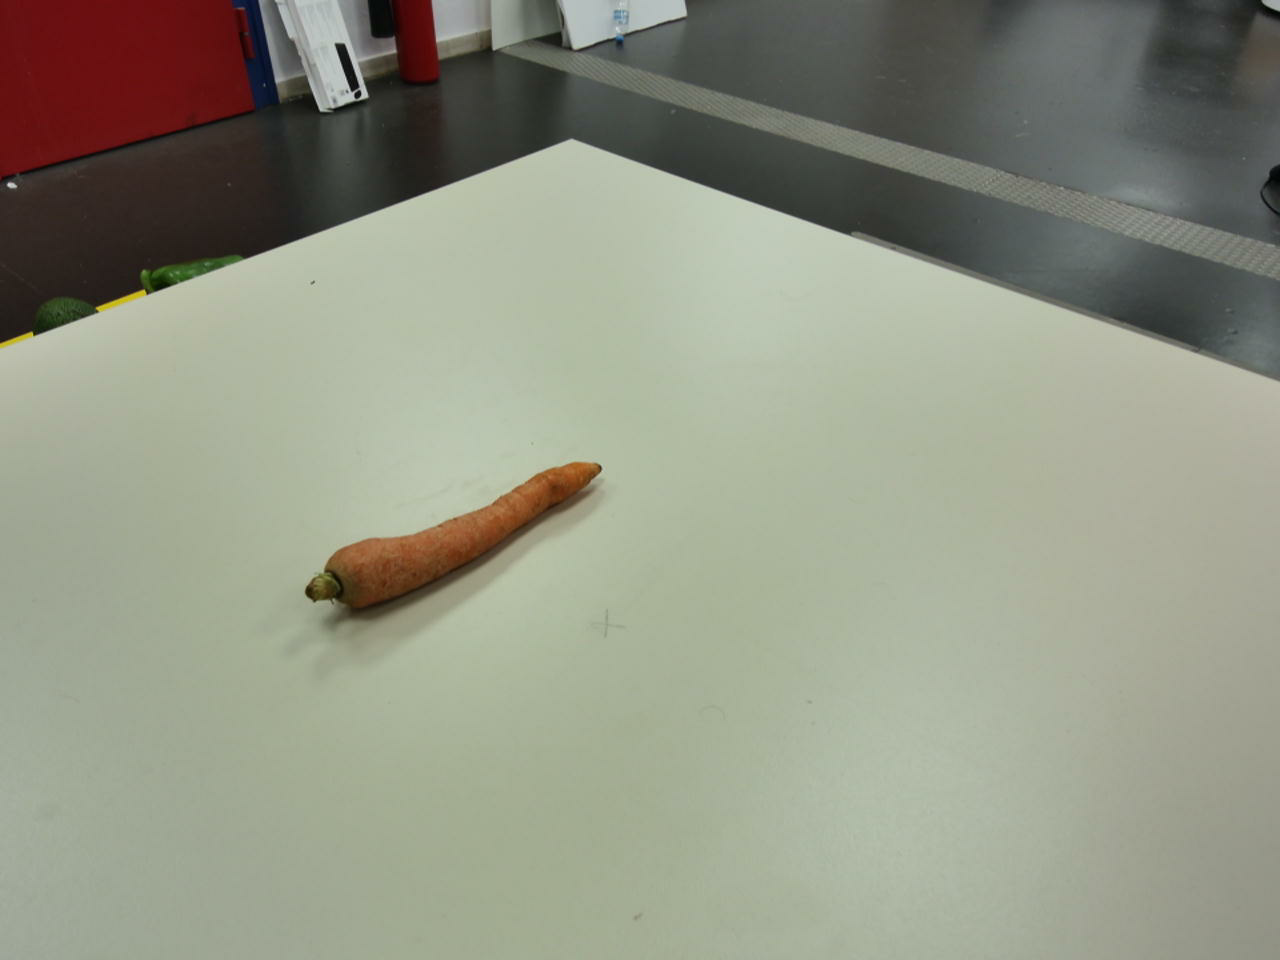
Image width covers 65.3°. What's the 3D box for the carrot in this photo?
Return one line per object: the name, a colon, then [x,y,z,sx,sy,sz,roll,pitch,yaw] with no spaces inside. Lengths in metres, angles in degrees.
carrot: [-0.083,0.022,0.491,0.173,0.032,0.030,-27,45,-32]
